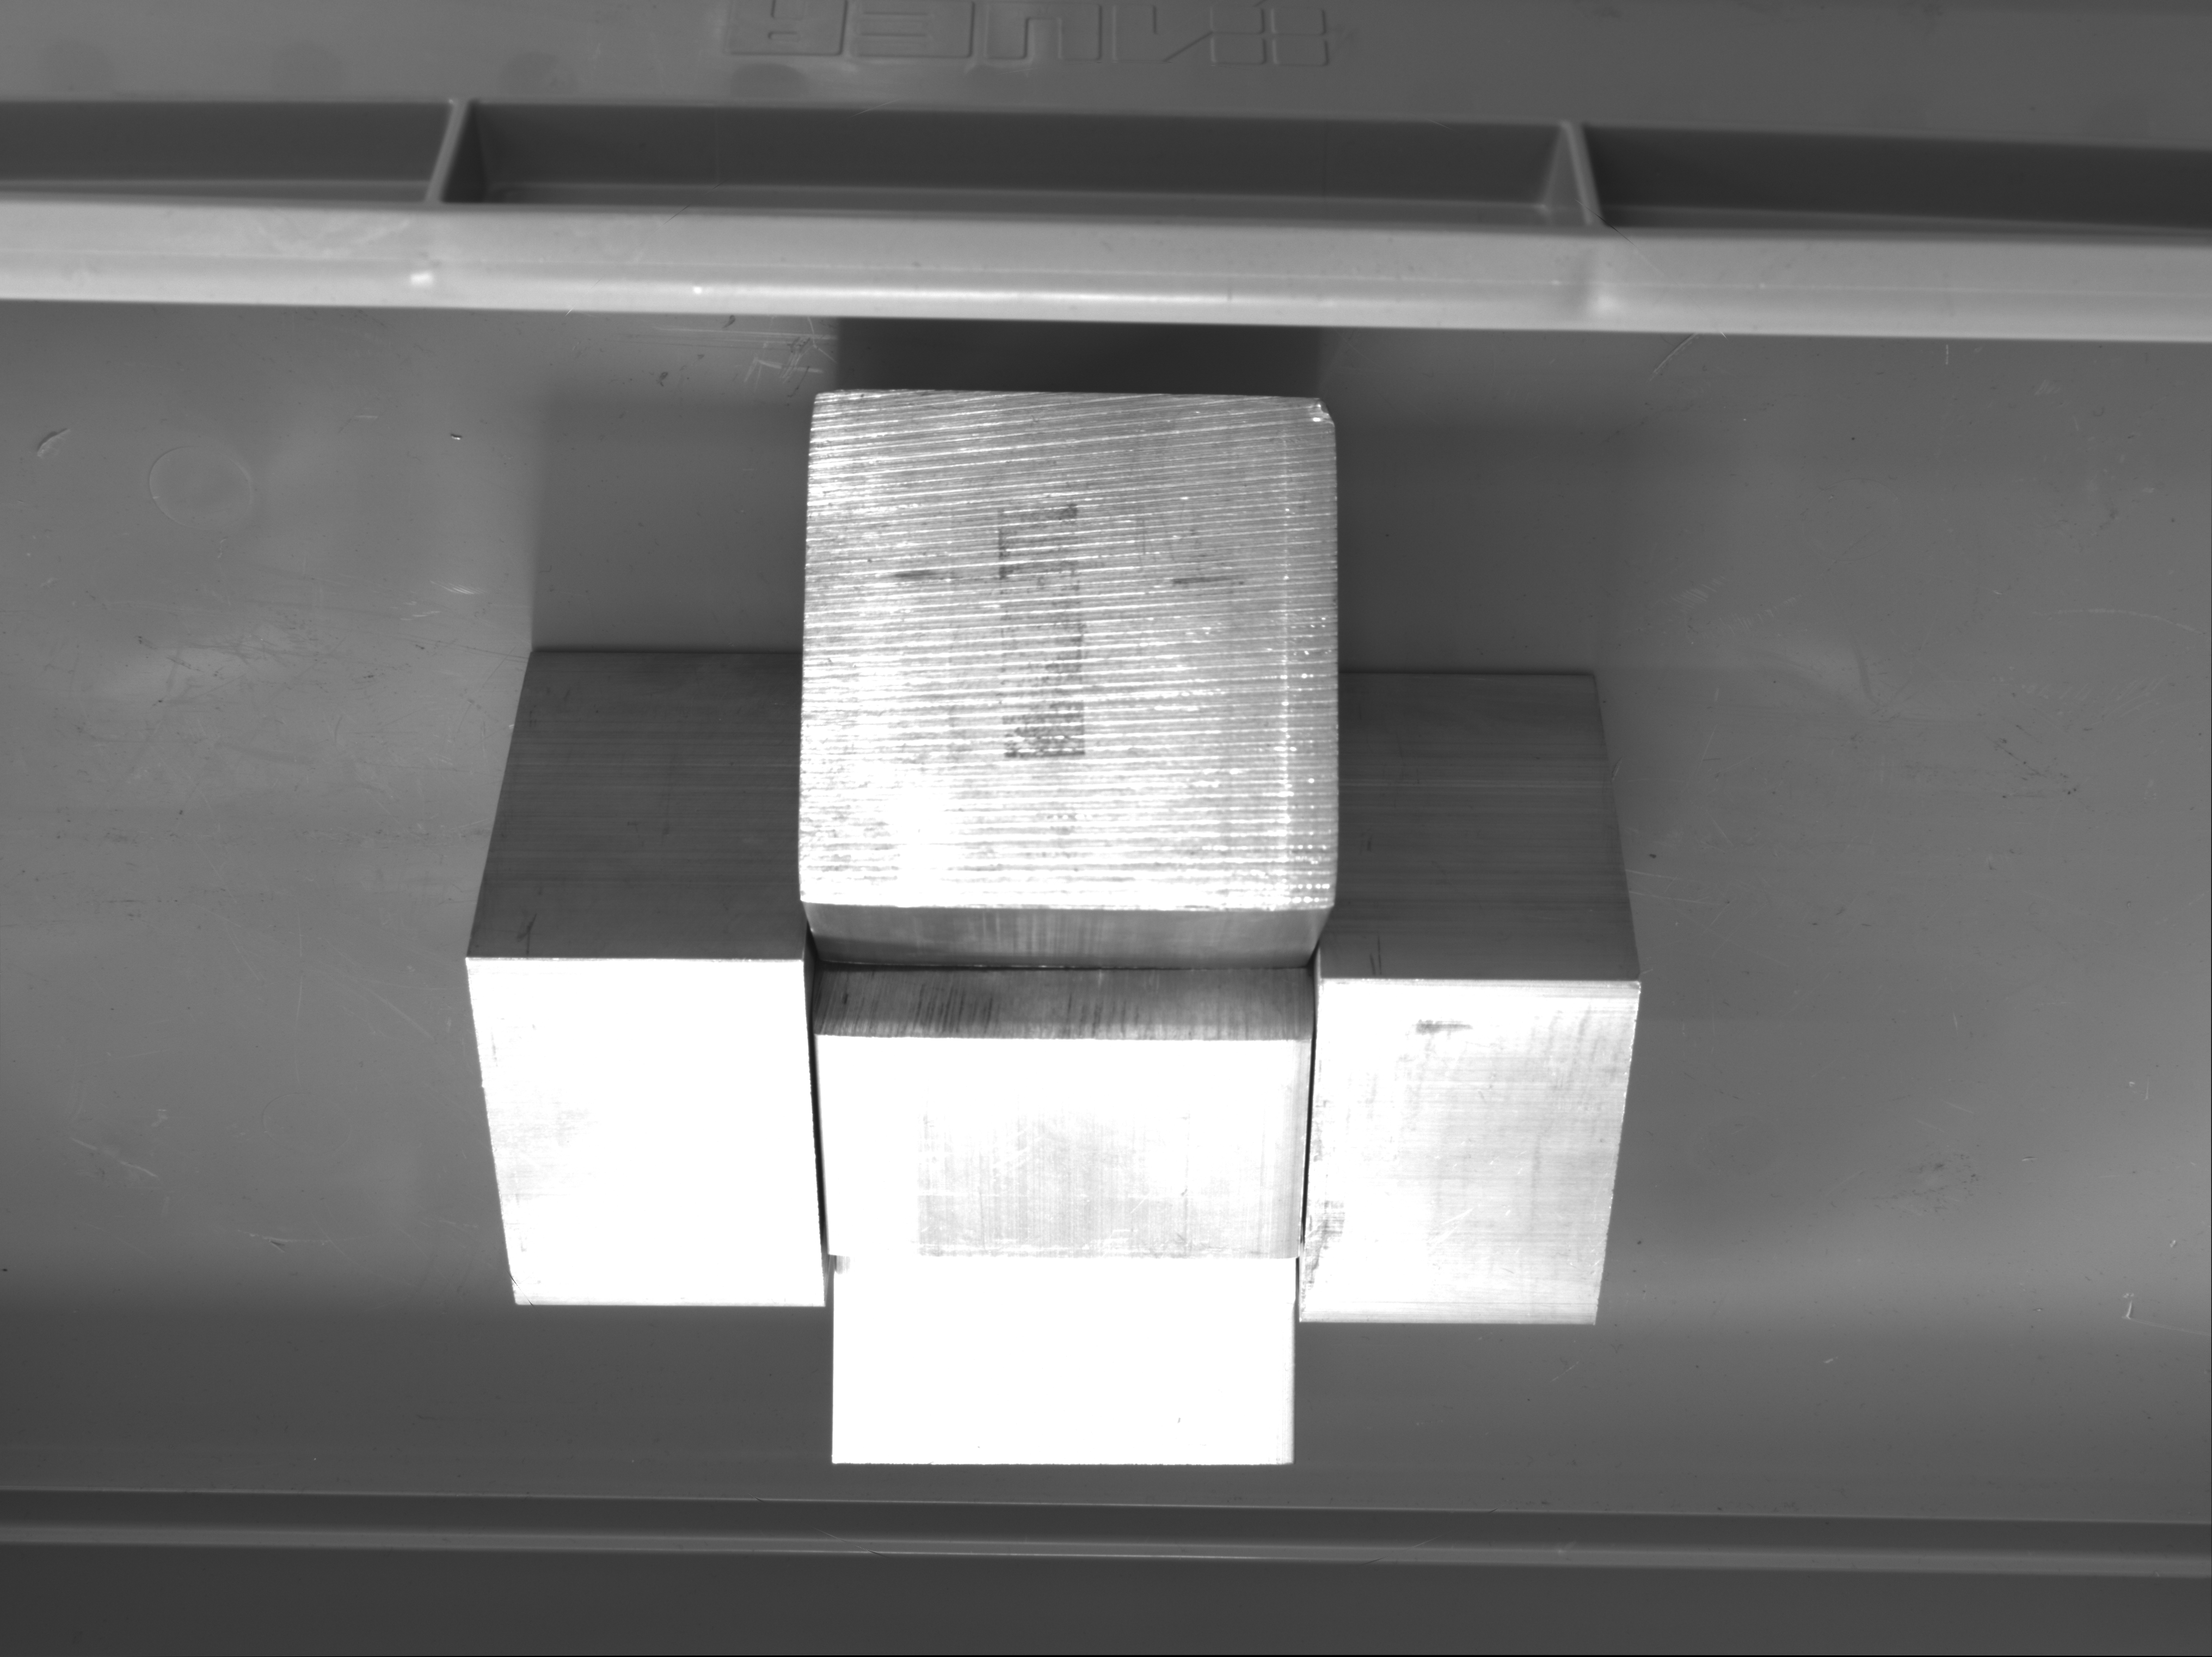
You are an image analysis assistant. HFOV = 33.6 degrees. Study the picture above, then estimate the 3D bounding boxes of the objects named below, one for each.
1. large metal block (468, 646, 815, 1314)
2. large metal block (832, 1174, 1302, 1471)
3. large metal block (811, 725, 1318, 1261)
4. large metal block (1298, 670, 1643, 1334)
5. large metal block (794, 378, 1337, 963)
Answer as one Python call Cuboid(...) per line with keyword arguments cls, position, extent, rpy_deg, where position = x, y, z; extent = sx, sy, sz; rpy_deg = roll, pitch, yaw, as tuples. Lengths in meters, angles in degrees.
Cuboid(cls="large metal block", position=(-0.074, 0.025, 0.623), extent=(0.050, 0.080, 0.080), rpy_deg=(0, 130, 0))
Cuboid(cls="large metal block", position=(-0.007, 0.085, 0.665), extent=(0.080, 0.080, 0.050), rpy_deg=(0, 88, -1))
Cuboid(cls="large metal block", position=(-0.007, 0.027, 0.625), extent=(0.080, 0.080, 0.050), rpy_deg=(1, 130, 0))
Cuboid(cls="large metal block", position=(0.058, 0.029, 0.627), extent=(0.050, 0.080, 0.080), rpy_deg=(1, 130, 0))
Cuboid(cls="large metal block", position=(-0.006, -0.023, 0.575), extent=(0.080, 0.080, 0.050), rpy_deg=(1, 168, -1))
